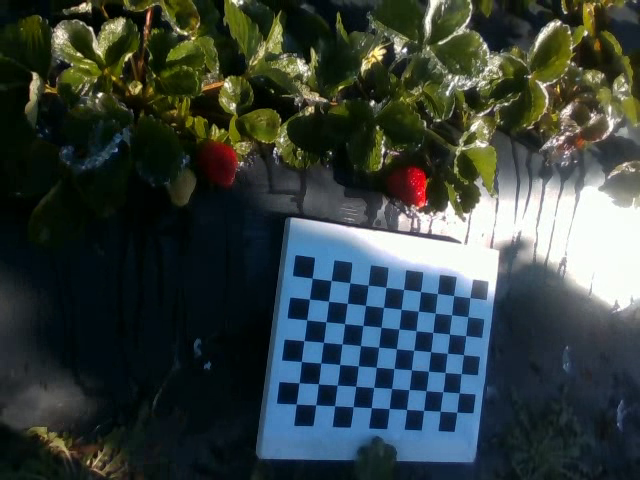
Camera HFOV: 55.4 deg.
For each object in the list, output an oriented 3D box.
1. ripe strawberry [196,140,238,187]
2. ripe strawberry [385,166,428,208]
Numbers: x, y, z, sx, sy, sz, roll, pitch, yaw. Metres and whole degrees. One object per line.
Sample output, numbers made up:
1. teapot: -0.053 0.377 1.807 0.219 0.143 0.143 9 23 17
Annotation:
1. ripe strawberry: -0.103 -0.073 0.631 0.042 0.061 0.046 -9 -38 -22
2. ripe strawberry: 0.111 -0.062 0.711 0.048 0.061 0.044 -1 -31 -22
